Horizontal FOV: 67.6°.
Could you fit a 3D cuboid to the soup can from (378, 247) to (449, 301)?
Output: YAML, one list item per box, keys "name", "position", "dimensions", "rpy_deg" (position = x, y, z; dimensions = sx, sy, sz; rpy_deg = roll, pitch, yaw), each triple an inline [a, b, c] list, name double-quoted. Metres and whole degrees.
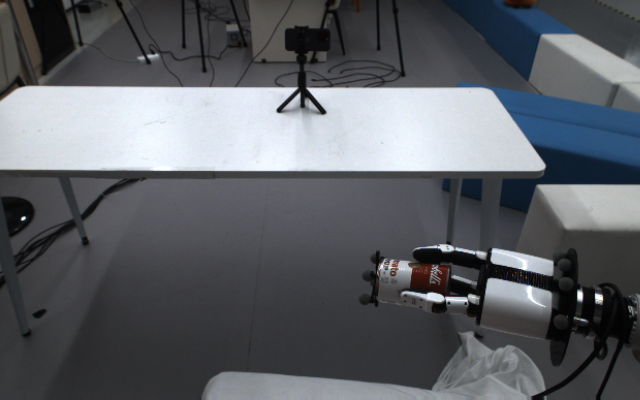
- name: "soup can"
  position: [0.142, 0.124, 0.716]
  dimensions: [0.101, 0.067, 0.067]
  rpy_deg: [4, 34, 19]
